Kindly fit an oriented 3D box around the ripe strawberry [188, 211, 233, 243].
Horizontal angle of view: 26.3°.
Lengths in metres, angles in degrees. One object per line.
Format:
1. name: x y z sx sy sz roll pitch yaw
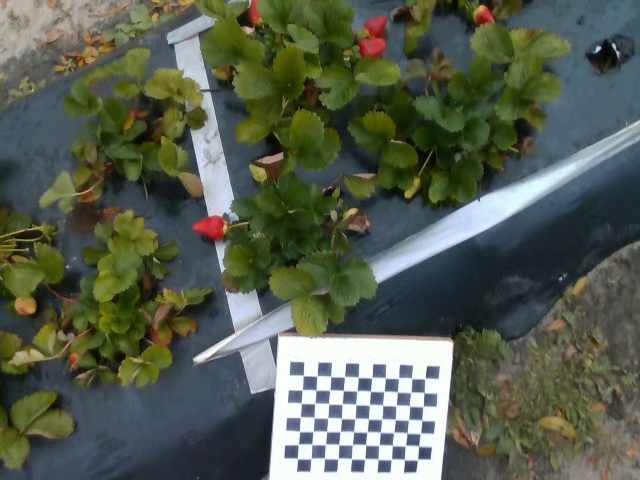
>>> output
1. ripe strawberry: -0.167 -0.021 1.890 0.051 0.041 0.037 -1 13 -19
